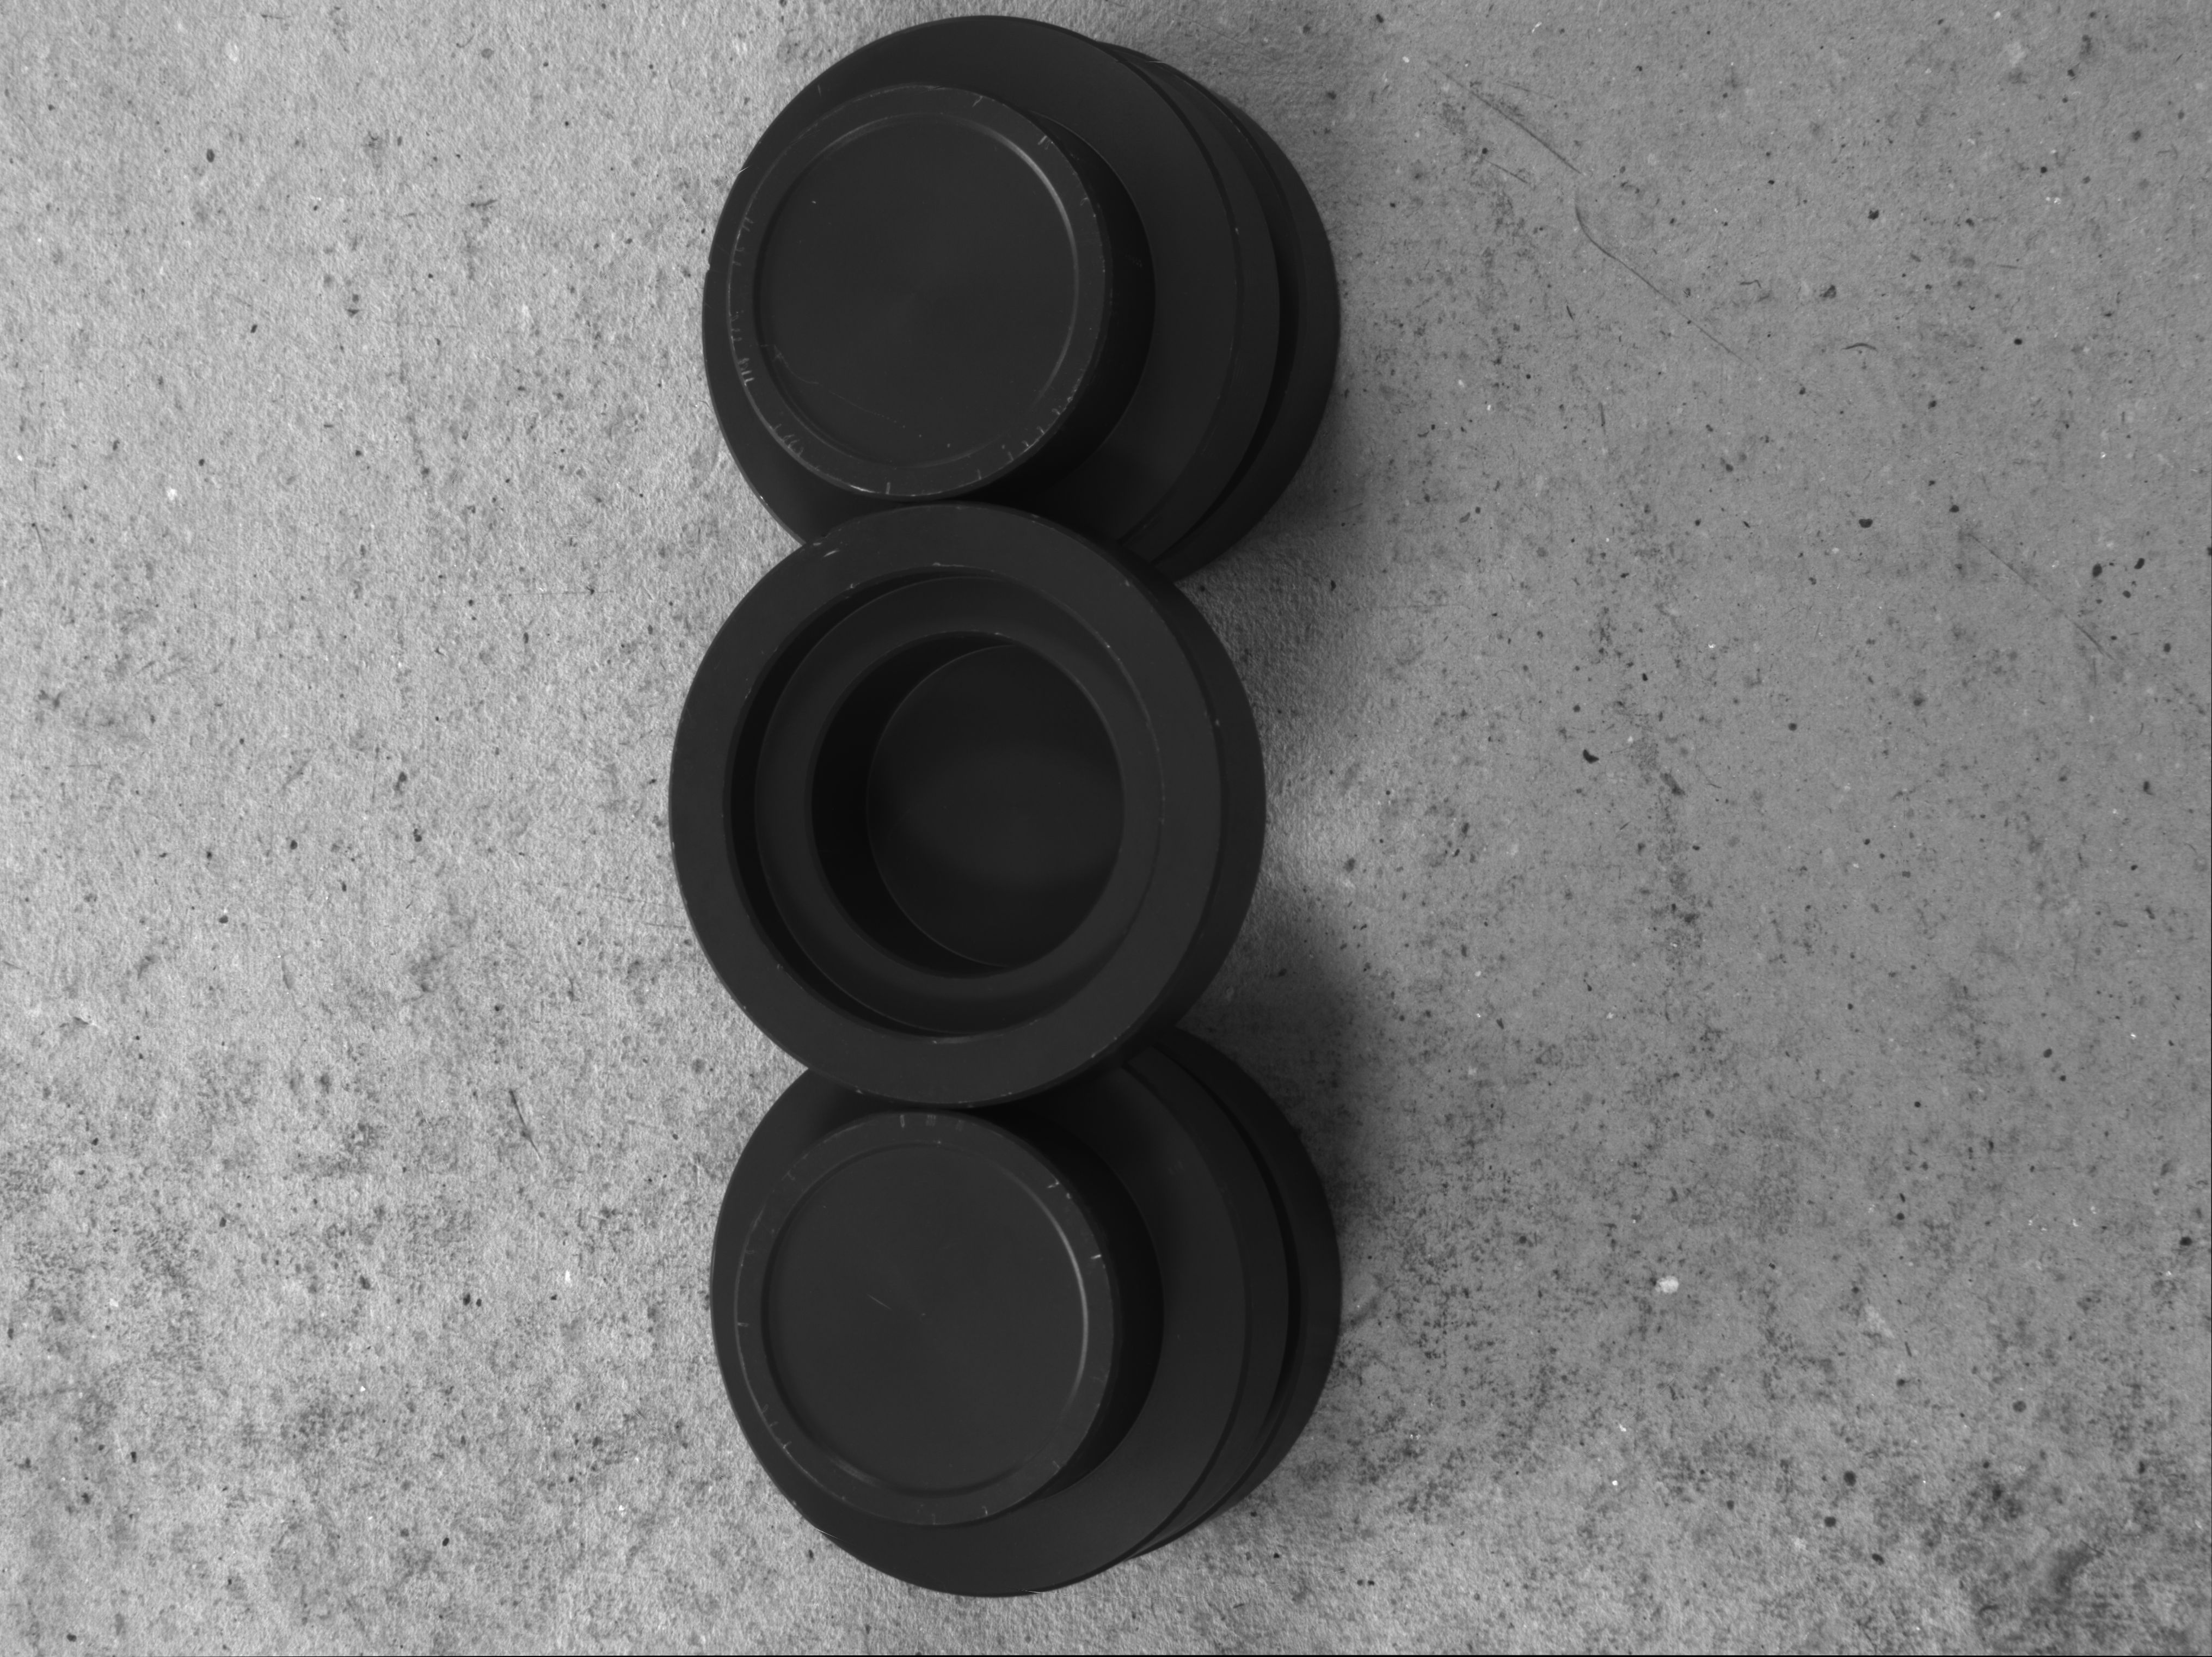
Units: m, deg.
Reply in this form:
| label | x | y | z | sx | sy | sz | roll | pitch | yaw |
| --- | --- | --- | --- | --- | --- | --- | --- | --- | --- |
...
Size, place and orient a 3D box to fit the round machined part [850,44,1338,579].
| label | x | y | z | sx | sy | sz | roll | pitch | yaw |
| --- | --- | --- | --- | --- | --- | --- | --- | --- | --- |
| round machined part | -0.012 | -0.089 | 0.642 | 0.098 | 0.042 | 0.098 | 0 | 90 | 22 |

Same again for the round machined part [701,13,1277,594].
| label | x | y | z | sx | sy | sz | roll | pitch | yaw |
| --- | --- | --- | --- | --- | --- | --- | --- | --- | --- |
| round machined part | -0.024 | -0.087 | 0.611 | 0.098 | 0.042 | 0.098 | 0 | 90 | 21 |

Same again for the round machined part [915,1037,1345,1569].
| label | x | y | z | sx | sy | sz | roll | pitch | yaw |
| --- | --- | --- | --- | --- | --- | --- | --- | --- | --- |
| round machined part | -0.011 | 0.082 | 0.642 | 0.098 | 0.042 | 0.098 | -1 | 89 | 21 |

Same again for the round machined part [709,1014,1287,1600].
| label | x | y | z | sx | sy | sz | roll | pitch | yaw |
| --- | --- | --- | --- | --- | --- | --- | --- | --- | --- |
| round machined part | -0.023 | 0.080 | 0.610 | 0.098 | 0.042 | 0.098 | 0 | 90 | 21 |

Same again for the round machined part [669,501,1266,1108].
| label | x | y | z | sx | sy | sz | roll | pitch | yaw |
| --- | --- | --- | --- | --- | --- | --- | --- | --- | --- |
| round machined part | -0.020 | -0.004 | 0.610 | 0.098 | 0.042 | 0.098 | 0 | 90 | 20 |
